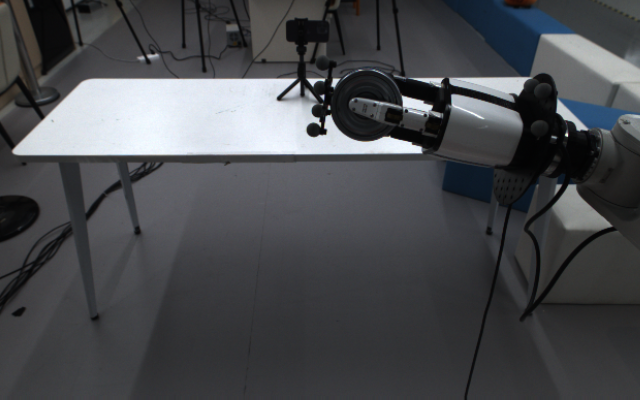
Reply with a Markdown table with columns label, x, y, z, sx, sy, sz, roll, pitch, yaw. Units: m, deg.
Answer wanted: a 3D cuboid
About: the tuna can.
| label | x | y | z | sx | sy | sz | roll | pitch | yaw |
| --- | --- | --- | --- | --- | --- | --- | --- | --- | --- |
| tuna can | 0.058 | -0.112 | 0.576 | 0.085 | 0.085 | 0.034 | 4 | 18 | 3 |
